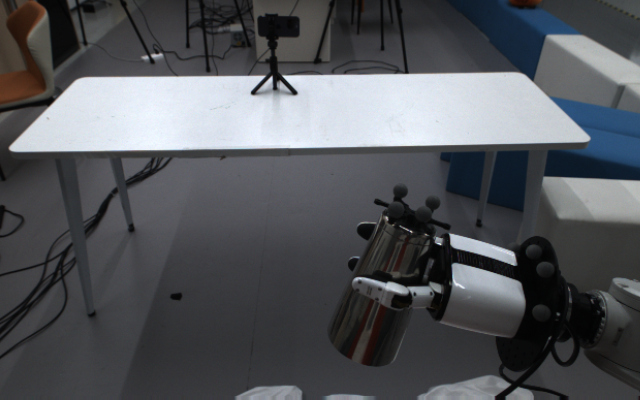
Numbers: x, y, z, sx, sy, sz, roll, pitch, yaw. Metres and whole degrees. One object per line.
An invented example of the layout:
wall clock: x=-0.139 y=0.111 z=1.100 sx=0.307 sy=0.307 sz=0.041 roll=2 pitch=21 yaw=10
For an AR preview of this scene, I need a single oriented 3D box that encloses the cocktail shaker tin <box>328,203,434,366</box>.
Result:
cocktail shaker tin: x=0.079 y=0.098 z=0.574 sx=0.093 sy=0.170 sz=0.093 roll=15 pitch=21 yaw=-6
